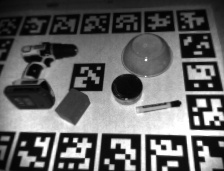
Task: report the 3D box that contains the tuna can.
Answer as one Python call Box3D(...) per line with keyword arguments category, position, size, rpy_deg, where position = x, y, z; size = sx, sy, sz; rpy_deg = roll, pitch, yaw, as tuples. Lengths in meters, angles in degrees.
Box3D(category="tuna can", position=(0.037, -0.002, 0.607), size=(0.085, 0.034, 0.085), rpy_deg=(-1, 61, 3))

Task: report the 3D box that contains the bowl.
Box3D(category="bowl", position=(0.094, -0.115, 0.663), size=(0.161, 0.055, 0.161), rpy_deg=(-4, 54, 7))

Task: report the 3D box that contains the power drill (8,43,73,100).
Box3D(category="power drill", position=(-0.218, -0.048, 0.652), size=(0.184, 0.058, 0.186), rpy_deg=(1, 59, 3))

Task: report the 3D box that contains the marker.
Box3D(category="marker", position=(0.119, 0.046, 0.579), size=(0.121, 0.020, 0.019), rpy_deg=(-9, 62, 1))

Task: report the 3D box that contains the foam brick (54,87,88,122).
Box3D(category="foam brick", position=(-0.111, 0.052, 0.591), size=(0.051, 0.053, 0.078), rpy_deg=(23, 67, 17))
